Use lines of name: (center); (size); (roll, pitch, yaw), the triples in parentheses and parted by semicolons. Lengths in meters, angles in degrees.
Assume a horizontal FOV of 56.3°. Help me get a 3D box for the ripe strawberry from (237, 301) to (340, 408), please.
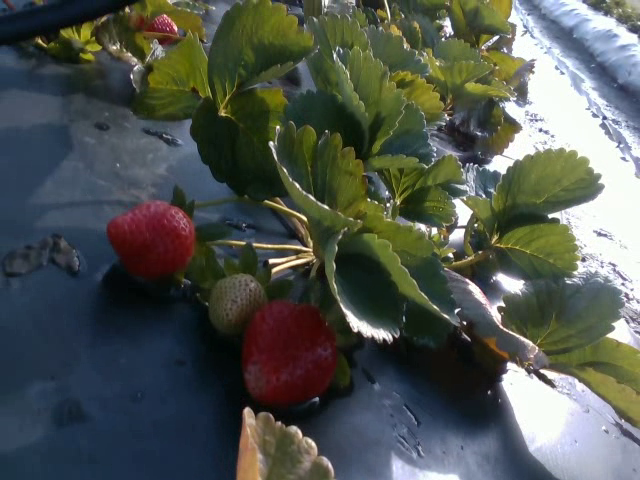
ripe strawberry: (-0.018, 0.051, 0.268); (0.048, 0.050, 0.065); (-9, 23, 31)
